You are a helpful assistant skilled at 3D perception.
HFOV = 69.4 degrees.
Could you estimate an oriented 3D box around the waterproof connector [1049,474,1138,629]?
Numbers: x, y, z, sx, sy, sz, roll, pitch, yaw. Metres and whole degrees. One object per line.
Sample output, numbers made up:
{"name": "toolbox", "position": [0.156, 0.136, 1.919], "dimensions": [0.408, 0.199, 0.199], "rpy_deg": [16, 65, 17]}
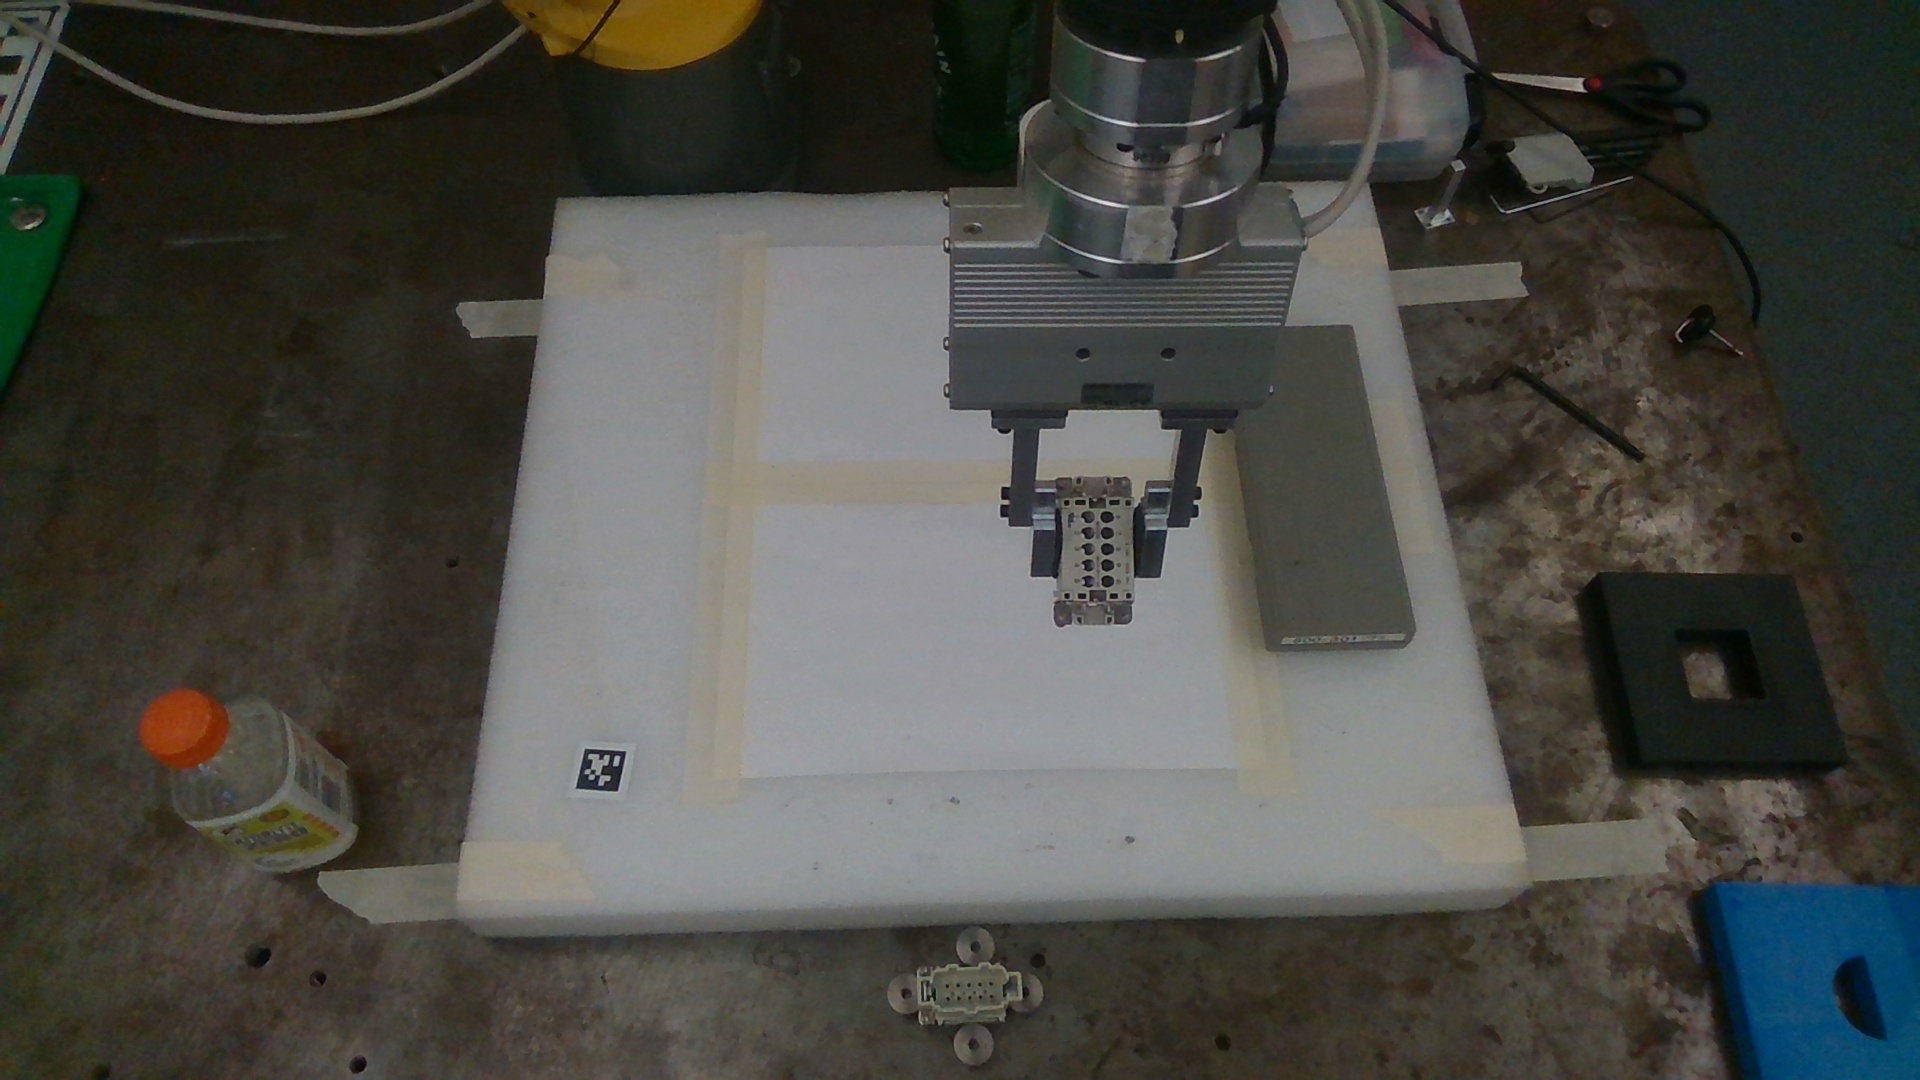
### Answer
{"name": "waterproof connector", "position": [0.058, 0.005, 0.621], "dimensions": [0.037, 0.038, 0.069], "rpy_deg": [0, 79, -5]}
